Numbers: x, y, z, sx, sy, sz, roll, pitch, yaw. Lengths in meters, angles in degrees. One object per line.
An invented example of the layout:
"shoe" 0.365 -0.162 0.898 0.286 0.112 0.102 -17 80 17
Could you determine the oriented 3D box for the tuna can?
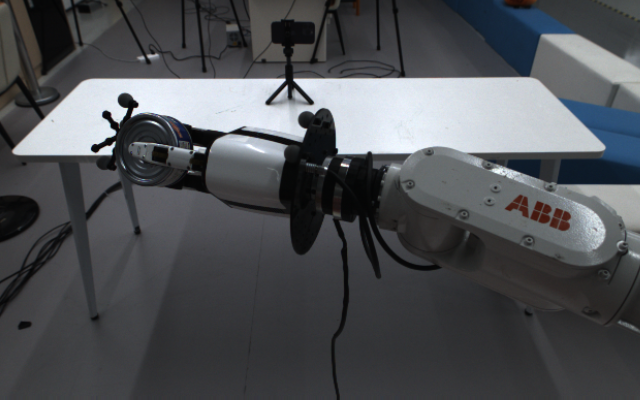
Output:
"tuna can" -0.192 -0.059 0.565 0.085 0.085 0.034 12 5 14
